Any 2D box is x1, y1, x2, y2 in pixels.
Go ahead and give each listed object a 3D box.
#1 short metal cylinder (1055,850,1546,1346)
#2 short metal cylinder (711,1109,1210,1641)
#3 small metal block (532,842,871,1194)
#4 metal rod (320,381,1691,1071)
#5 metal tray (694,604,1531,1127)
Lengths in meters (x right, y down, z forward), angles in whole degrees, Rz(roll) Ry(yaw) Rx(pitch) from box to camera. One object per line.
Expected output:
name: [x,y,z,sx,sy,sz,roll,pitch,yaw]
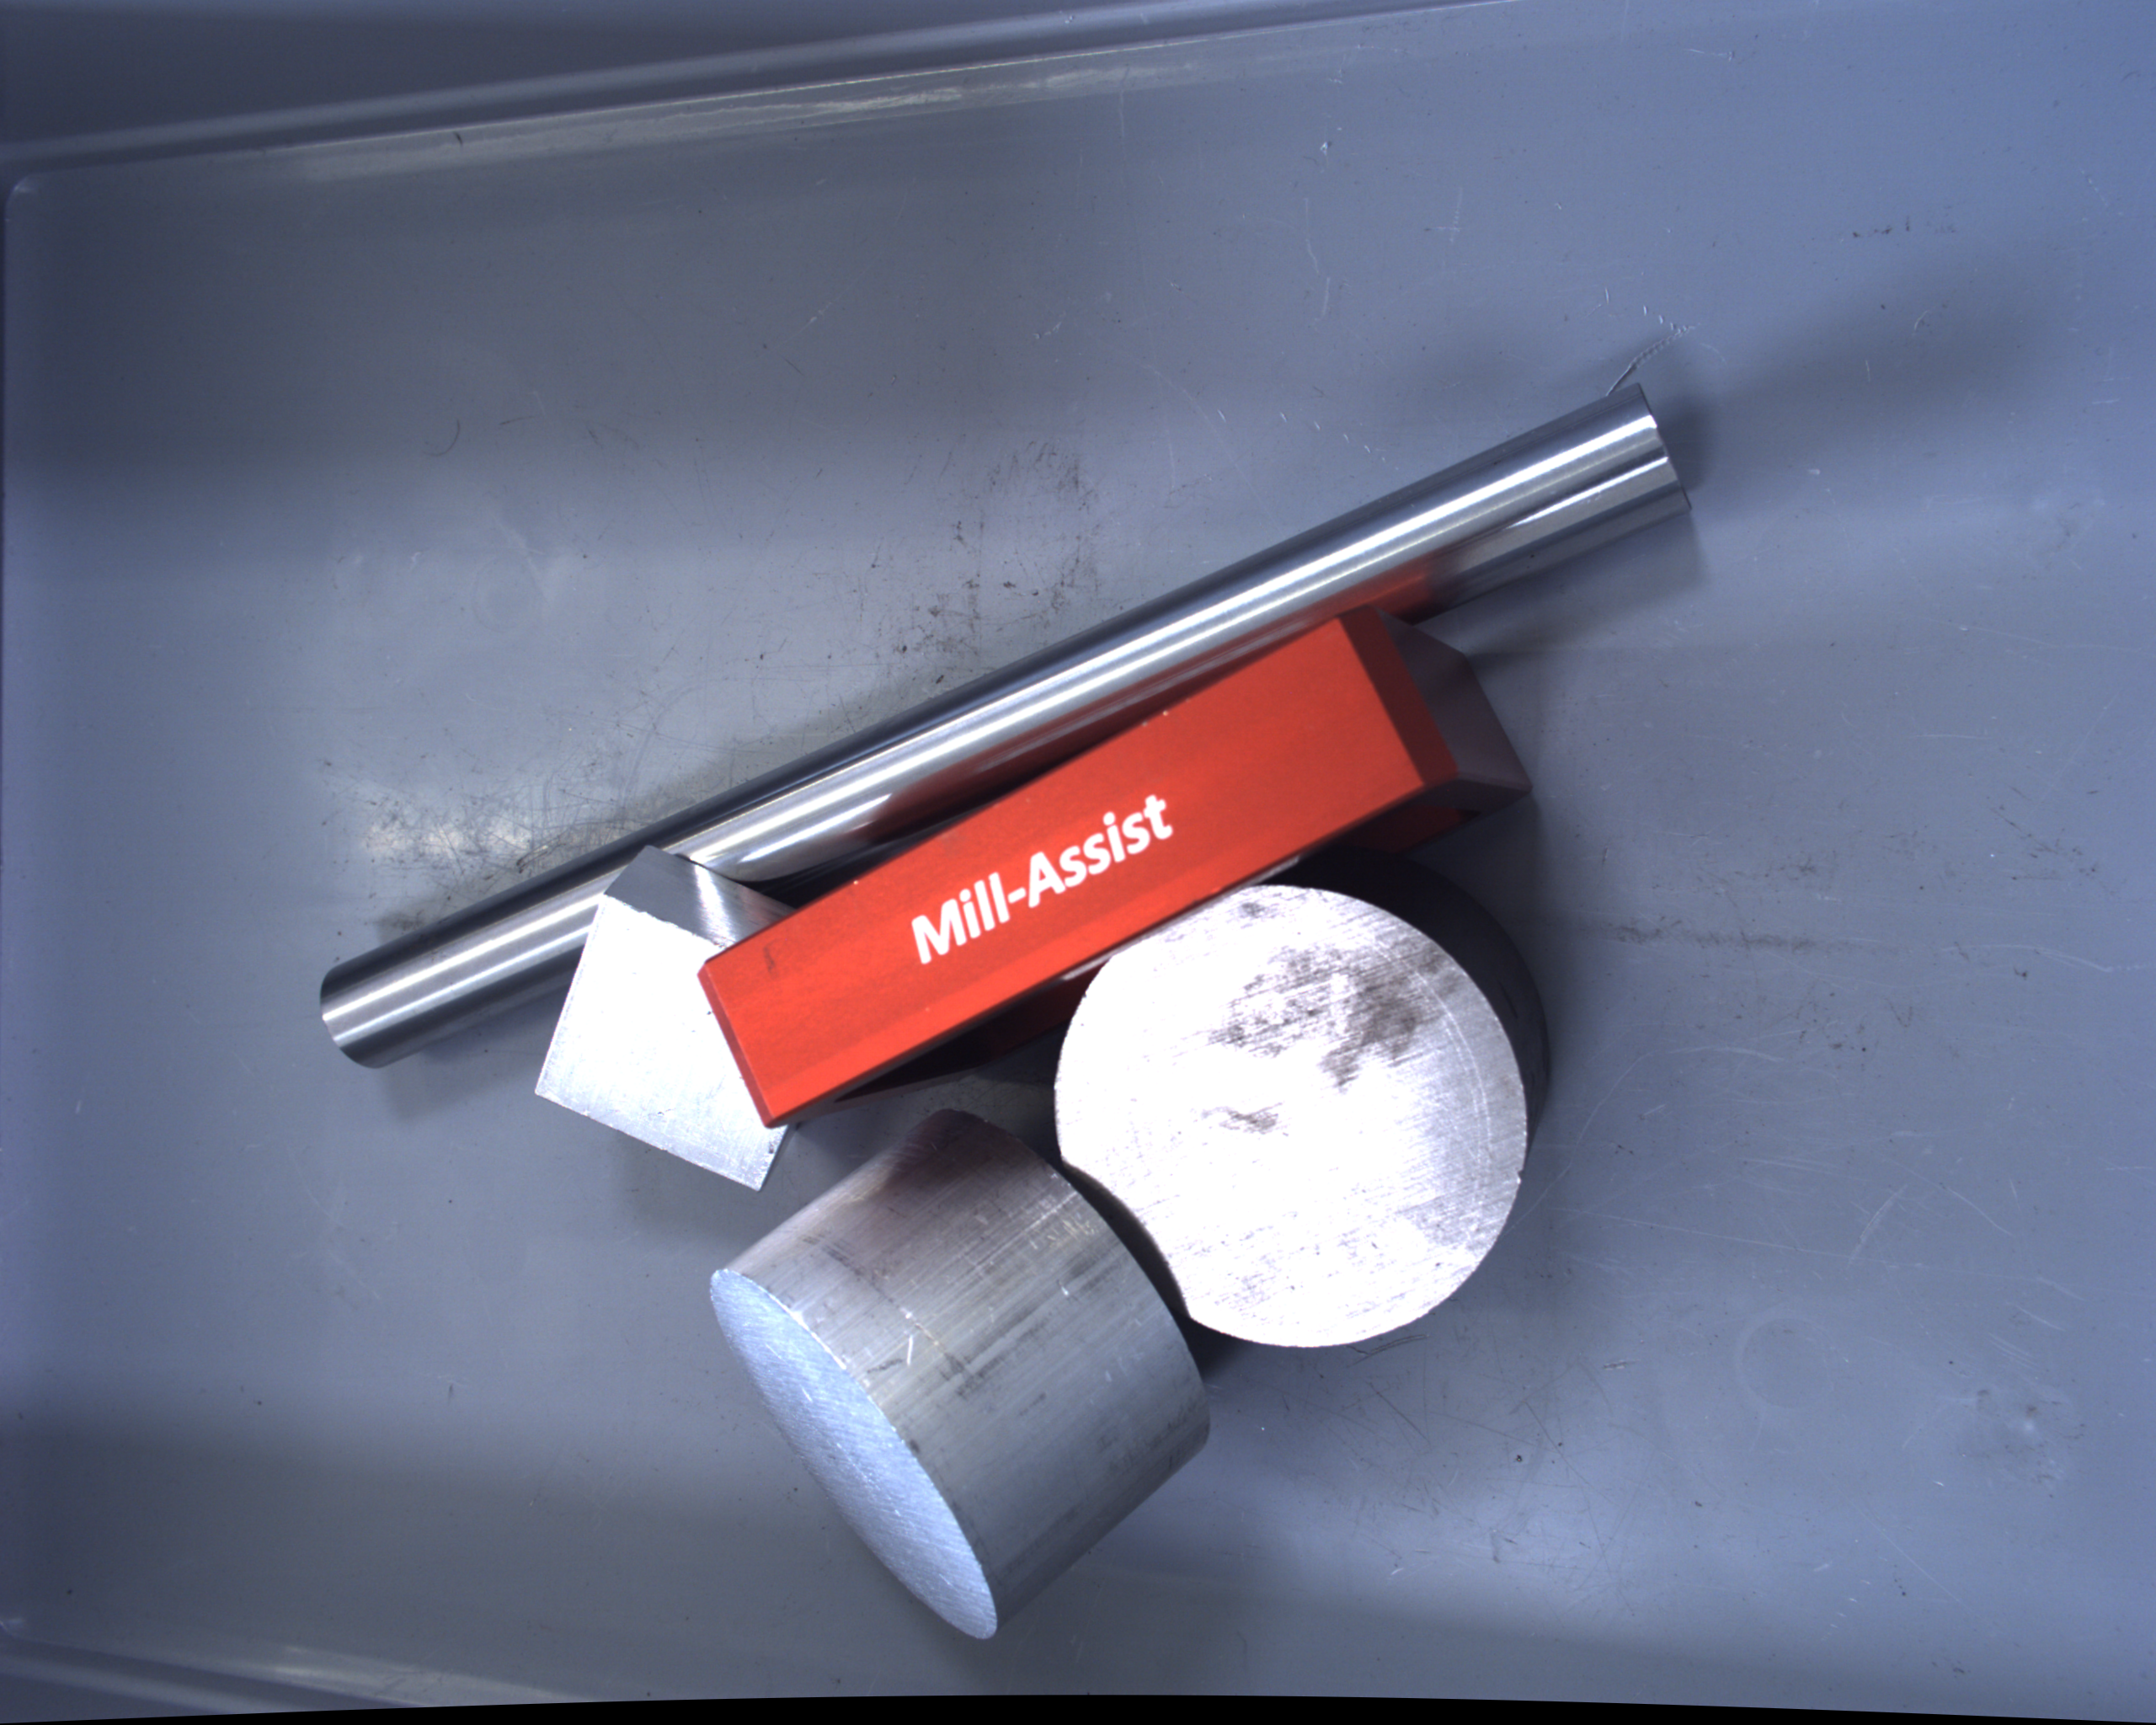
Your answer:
short metal cylinder: [0.042,0.040,0.375,0.080,0.050,0.079,2,99,15]
short metal cylinder: [-0.022,0.092,0.380,0.050,0.080,0.080,-35,75,-26]
small metal block: [-0.075,0.031,0.422,0.050,0.025,0.050,24,115,-1]
metal rod: [-0.027,-0.020,0.418,0.300,0.025,0.025,-22,83,18]
metal tray: [0.009,0.002,0.371,0.130,0.090,0.030,-28,81,18]
